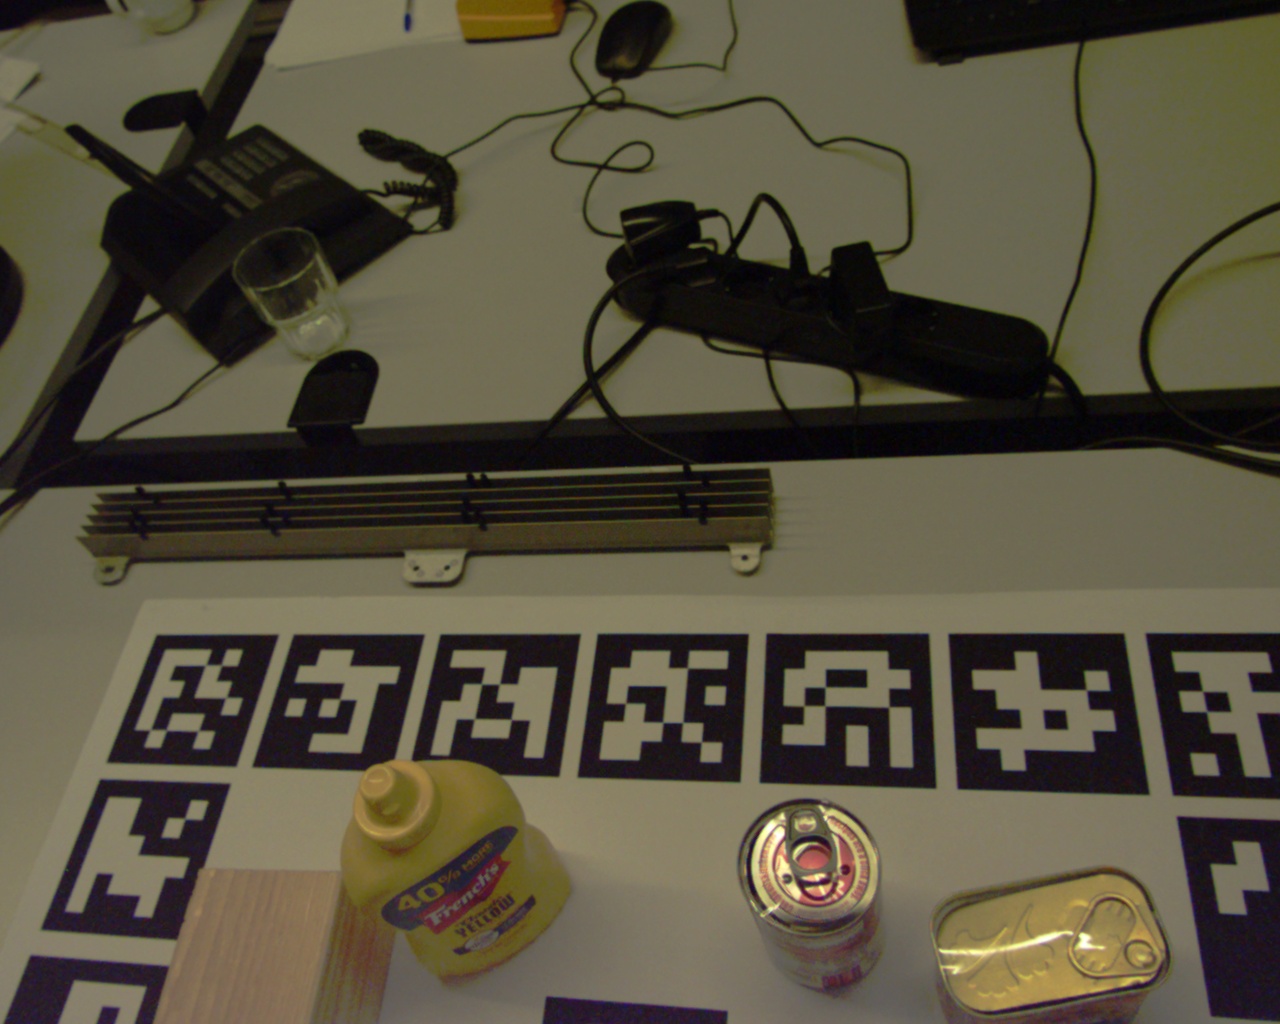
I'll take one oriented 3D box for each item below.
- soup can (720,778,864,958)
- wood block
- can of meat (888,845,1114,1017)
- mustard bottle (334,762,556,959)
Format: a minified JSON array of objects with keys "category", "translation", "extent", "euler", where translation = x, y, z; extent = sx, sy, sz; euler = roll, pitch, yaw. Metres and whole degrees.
[{"category":"soup can","translation":[0.084,0.192,0.607],"extent":[0.068,0.101,0.068],"euler":[-7,55,10]},{"category":"wood block","translation":[-0.210,0.302,0.625],"extent":[0.091,0.089,0.206],"euler":[-1,51,12]},{"category":"can of meat","translation":[0.180,0.218,0.586],"extent":[0.102,0.083,0.058],"euler":[-12,54,3]},{"category":"mustard bottle","translation":[-0.113,0.186,0.625],"extent":[0.096,0.190,0.059],"euler":[-22,52,-4]}]
